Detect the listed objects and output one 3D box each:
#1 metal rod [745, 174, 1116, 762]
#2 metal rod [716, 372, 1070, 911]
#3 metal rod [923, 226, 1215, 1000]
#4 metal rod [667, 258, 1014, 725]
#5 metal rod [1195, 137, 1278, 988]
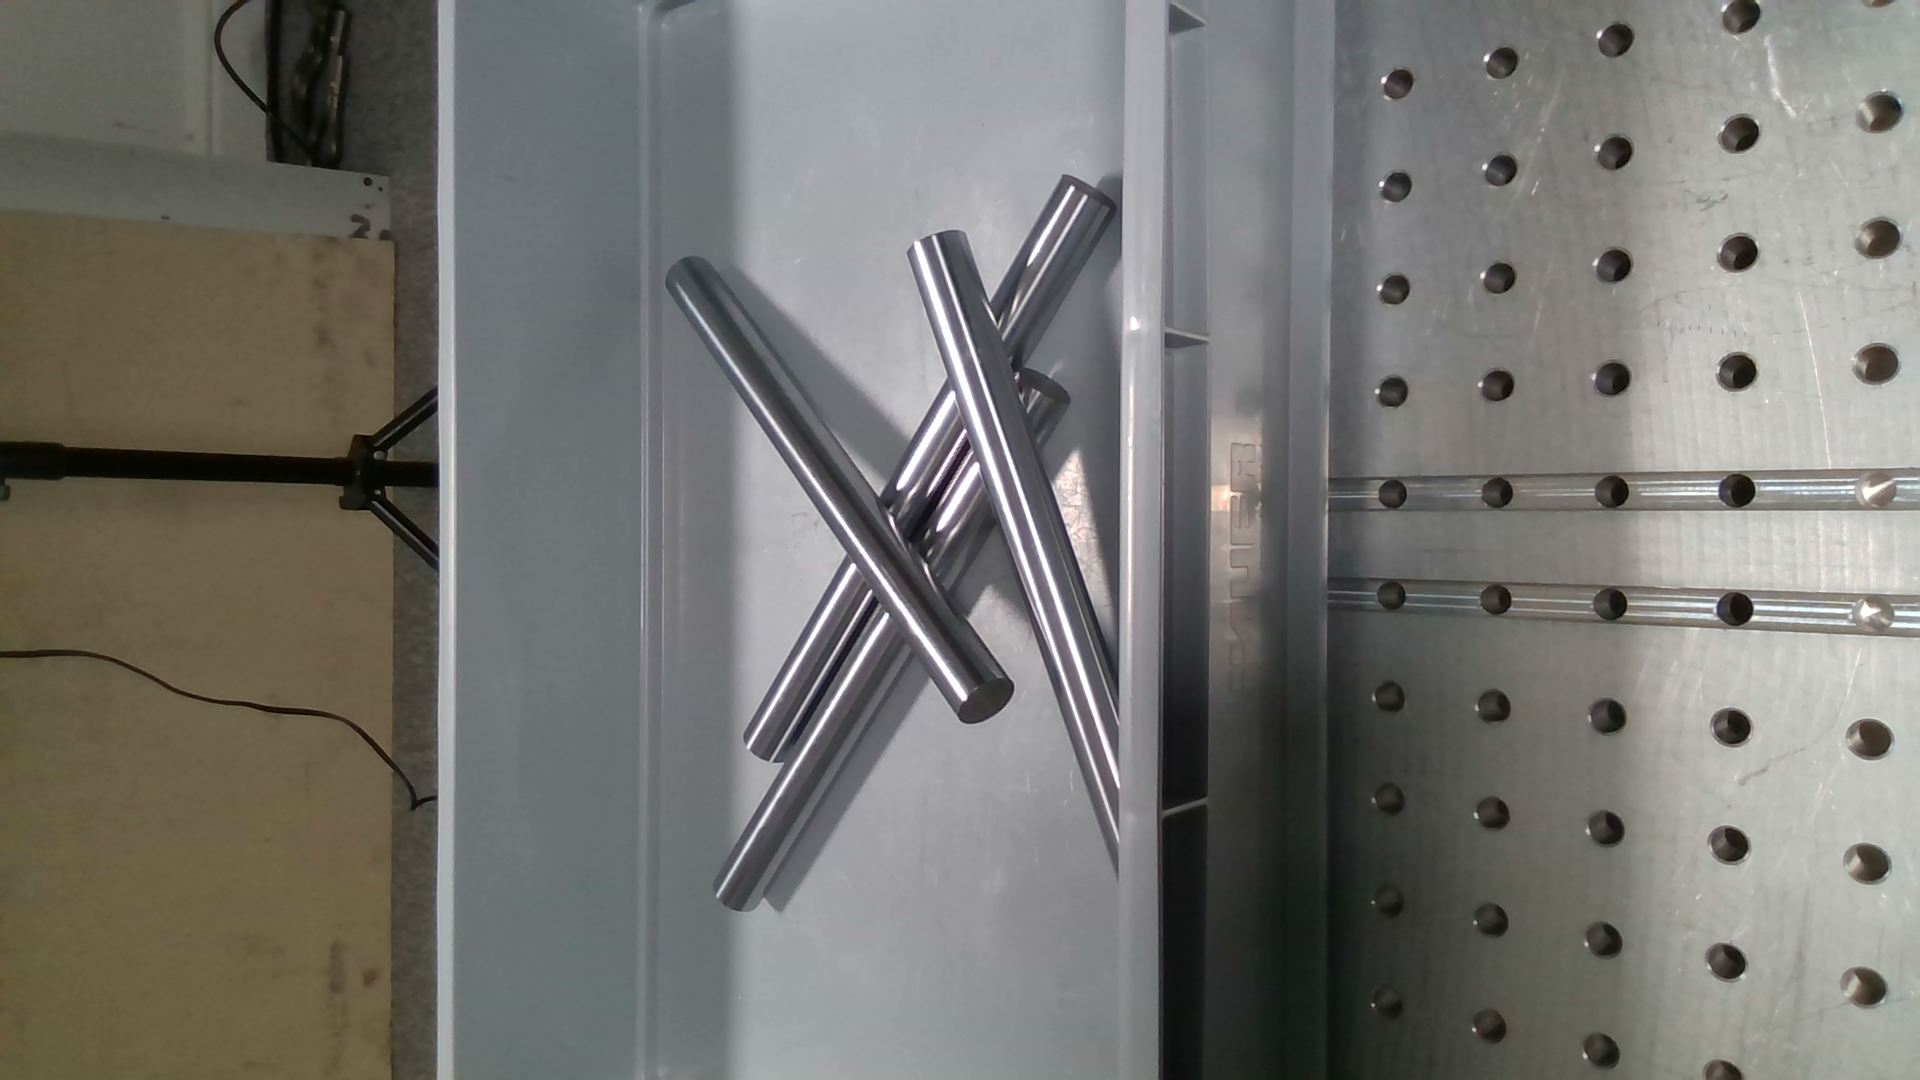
[{"bbox_3d":[-0.021,-0.020,0.599,0.025,0.025,0.301,46,118,30],"label":"metal rod"},{"bbox_3d":[-0.037,0.055,0.614,0.025,0.025,0.301,46,118,30],"label":"metal rod"},{"bbox_3d":[0.042,0.024,0.526,0.025,0.025,0.300,-23,82,38],"label":"metal rod"},{"bbox_3d":[-0.063,-0.035,0.608,0.025,0.025,0.299,-57,50,25],"label":"metal rod"},{"bbox_3d":[0.100,0.008,0.497,0.025,0.025,0.300,-1,90,40],"label":"metal rod"}]
